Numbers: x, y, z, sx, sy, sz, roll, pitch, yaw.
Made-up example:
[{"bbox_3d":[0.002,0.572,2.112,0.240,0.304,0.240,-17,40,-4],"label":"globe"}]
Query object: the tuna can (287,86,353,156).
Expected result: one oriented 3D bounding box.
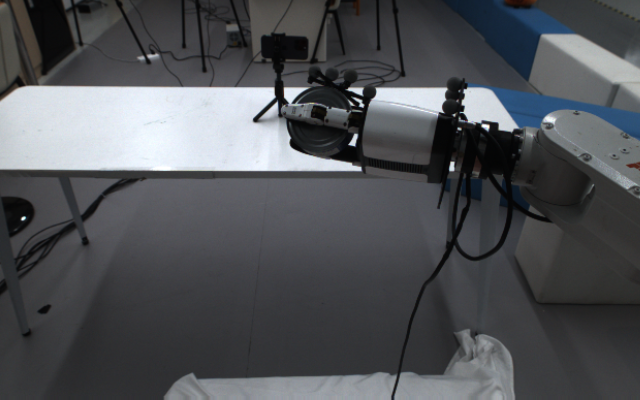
[{"bbox_3d":[0.004,-0.101,0.622,0.085,0.085,0.034,13,-6,16],"label":"tuna can"}]
